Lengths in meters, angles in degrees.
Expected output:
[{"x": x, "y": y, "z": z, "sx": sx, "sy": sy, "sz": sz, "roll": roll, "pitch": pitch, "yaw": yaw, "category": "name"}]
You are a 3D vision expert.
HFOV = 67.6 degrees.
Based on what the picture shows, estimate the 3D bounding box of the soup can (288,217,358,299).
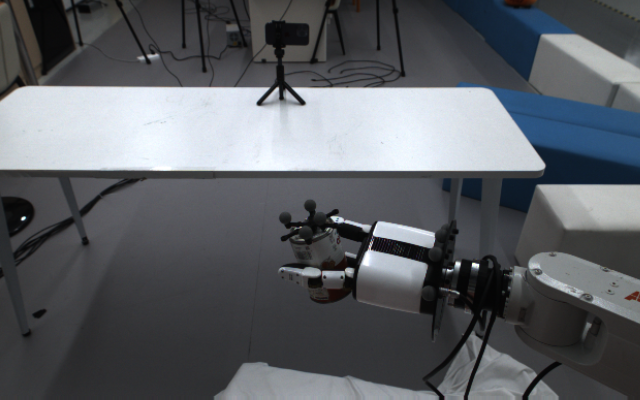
[{"x": 0.005, "y": 0.083, "z": 0.669, "sx": 0.067, "sy": 0.101, "sz": 0.067, "roll": -16, "pitch": 23, "yaw": 7, "category": "soup can"}]
